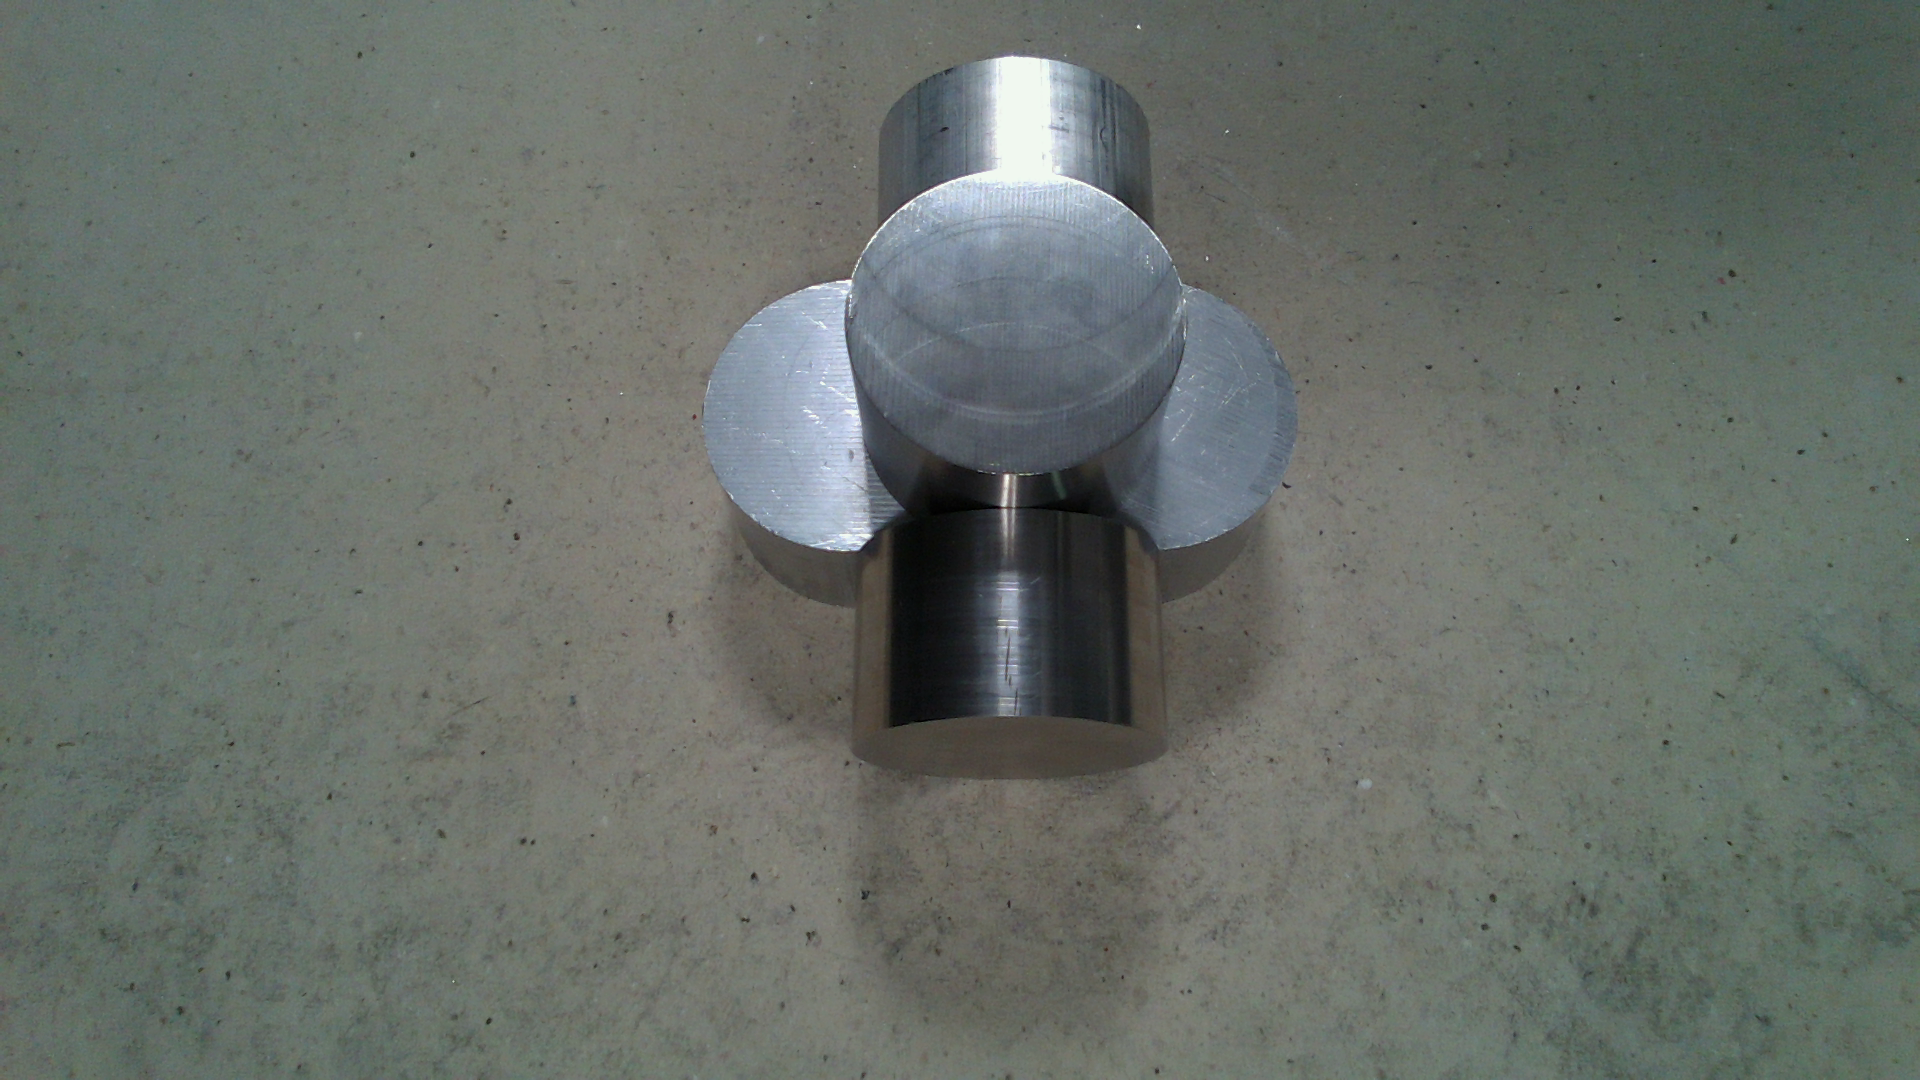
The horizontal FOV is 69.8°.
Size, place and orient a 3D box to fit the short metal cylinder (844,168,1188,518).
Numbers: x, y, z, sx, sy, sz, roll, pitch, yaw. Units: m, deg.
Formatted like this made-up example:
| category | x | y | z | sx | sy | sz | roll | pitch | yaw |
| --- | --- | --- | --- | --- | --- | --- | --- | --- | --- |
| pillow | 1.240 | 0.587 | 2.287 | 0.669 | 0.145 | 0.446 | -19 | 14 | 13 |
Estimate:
| category | x | y | z | sx | sy | sz | roll | pitch | yaw |
| --- | --- | --- | --- | --- | --- | --- | --- | --- | --- |
| short metal cylinder | 0.013 | -0.044 | 0.344 | 0.080 | 0.050 | 0.080 | 0 | 70 | 0 |

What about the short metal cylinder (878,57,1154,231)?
| category | x | y | z | sx | sy | sz | roll | pitch | yaw |
| --- | --- | --- | --- | --- | --- | --- | --- | --- | --- |
| short metal cylinder | 0.016 | -0.093 | 0.400 | 0.080 | 0.080 | 0.050 | 0 | 70 | 0 |

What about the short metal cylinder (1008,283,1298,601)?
| category | x | y | z | sx | sy | sz | roll | pitch | yaw |
| --- | --- | --- | --- | --- | --- | --- | --- | --- | --- |
| short metal cylinder | 0.050 | -0.027 | 0.391 | 0.080 | 0.050 | 0.080 | 0 | 70 | 0 |

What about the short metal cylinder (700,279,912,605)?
| category | x | y | z | sx | sy | sz | roll | pitch | yaw |
| --- | --- | --- | --- | --- | --- | --- | --- | --- | --- |
| short metal cylinder | -0.029 | -0.026 | 0.391 | 0.080 | 0.050 | 0.080 | 0 | 70 | 0 |

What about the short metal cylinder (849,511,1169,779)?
| category | x | y | z | sx | sy | sz | roll | pitch | yaw |
| --- | --- | --- | --- | --- | --- | --- | --- | --- | --- |
| short metal cylinder | 0.012 | 0.030 | 0.355 | 0.080 | 0.080 | 0.050 | 0 | 70 | 0 |
